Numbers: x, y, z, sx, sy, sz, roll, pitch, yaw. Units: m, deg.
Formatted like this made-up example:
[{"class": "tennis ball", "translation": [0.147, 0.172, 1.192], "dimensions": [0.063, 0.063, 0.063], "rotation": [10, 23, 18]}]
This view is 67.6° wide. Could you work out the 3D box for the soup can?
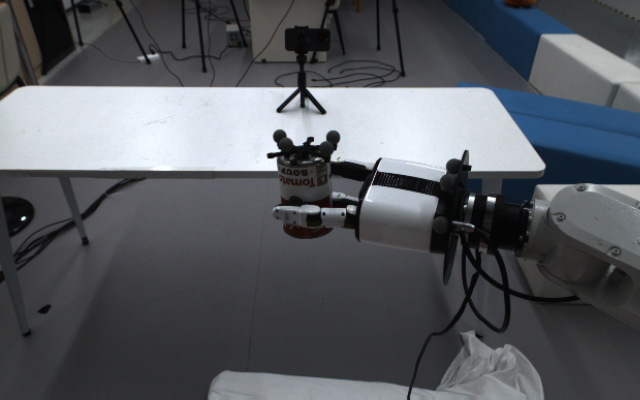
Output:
[{"class": "soup can", "translation": [-0.016, -0.012, 0.616], "dimensions": [0.067, 0.101, 0.067], "rotation": [-3, 26, 2]}]
